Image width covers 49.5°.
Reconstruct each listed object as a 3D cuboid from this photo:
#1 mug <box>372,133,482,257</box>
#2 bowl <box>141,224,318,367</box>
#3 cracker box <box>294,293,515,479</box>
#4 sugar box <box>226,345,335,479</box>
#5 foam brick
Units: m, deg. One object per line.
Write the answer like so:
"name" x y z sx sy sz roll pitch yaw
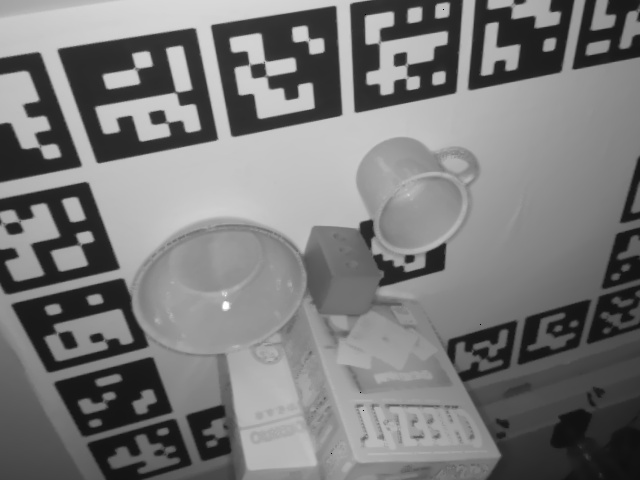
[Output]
"mug" 0.110 -0.049 0.643 0.118 0.081 0.093 -21 137 -6
"bowl" -0.084 0.042 0.646 0.163 0.055 0.160 -10 126 -13
"cracker box" 0.078 0.154 0.698 0.166 0.214 0.071 13 122 -26
"sugar box" -0.032 0.179 0.698 0.094 0.176 0.045 5 123 -23
"foam brick" 0.036 0.037 0.691 0.053 0.078 0.051 0 125 -20
